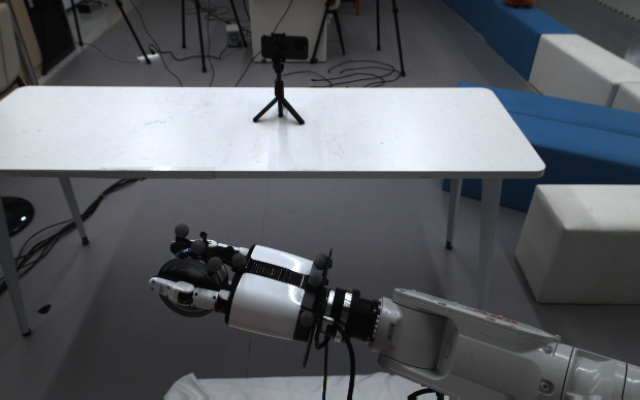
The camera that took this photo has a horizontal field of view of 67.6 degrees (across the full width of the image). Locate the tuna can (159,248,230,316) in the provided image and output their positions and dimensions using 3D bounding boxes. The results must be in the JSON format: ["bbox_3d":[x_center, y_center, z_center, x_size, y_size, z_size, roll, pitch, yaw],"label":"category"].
[{"bbox_3d":[-0.160,0.106,0.624,0.085,0.085,0.034,7,17,7],"label":"tuna can"}]
